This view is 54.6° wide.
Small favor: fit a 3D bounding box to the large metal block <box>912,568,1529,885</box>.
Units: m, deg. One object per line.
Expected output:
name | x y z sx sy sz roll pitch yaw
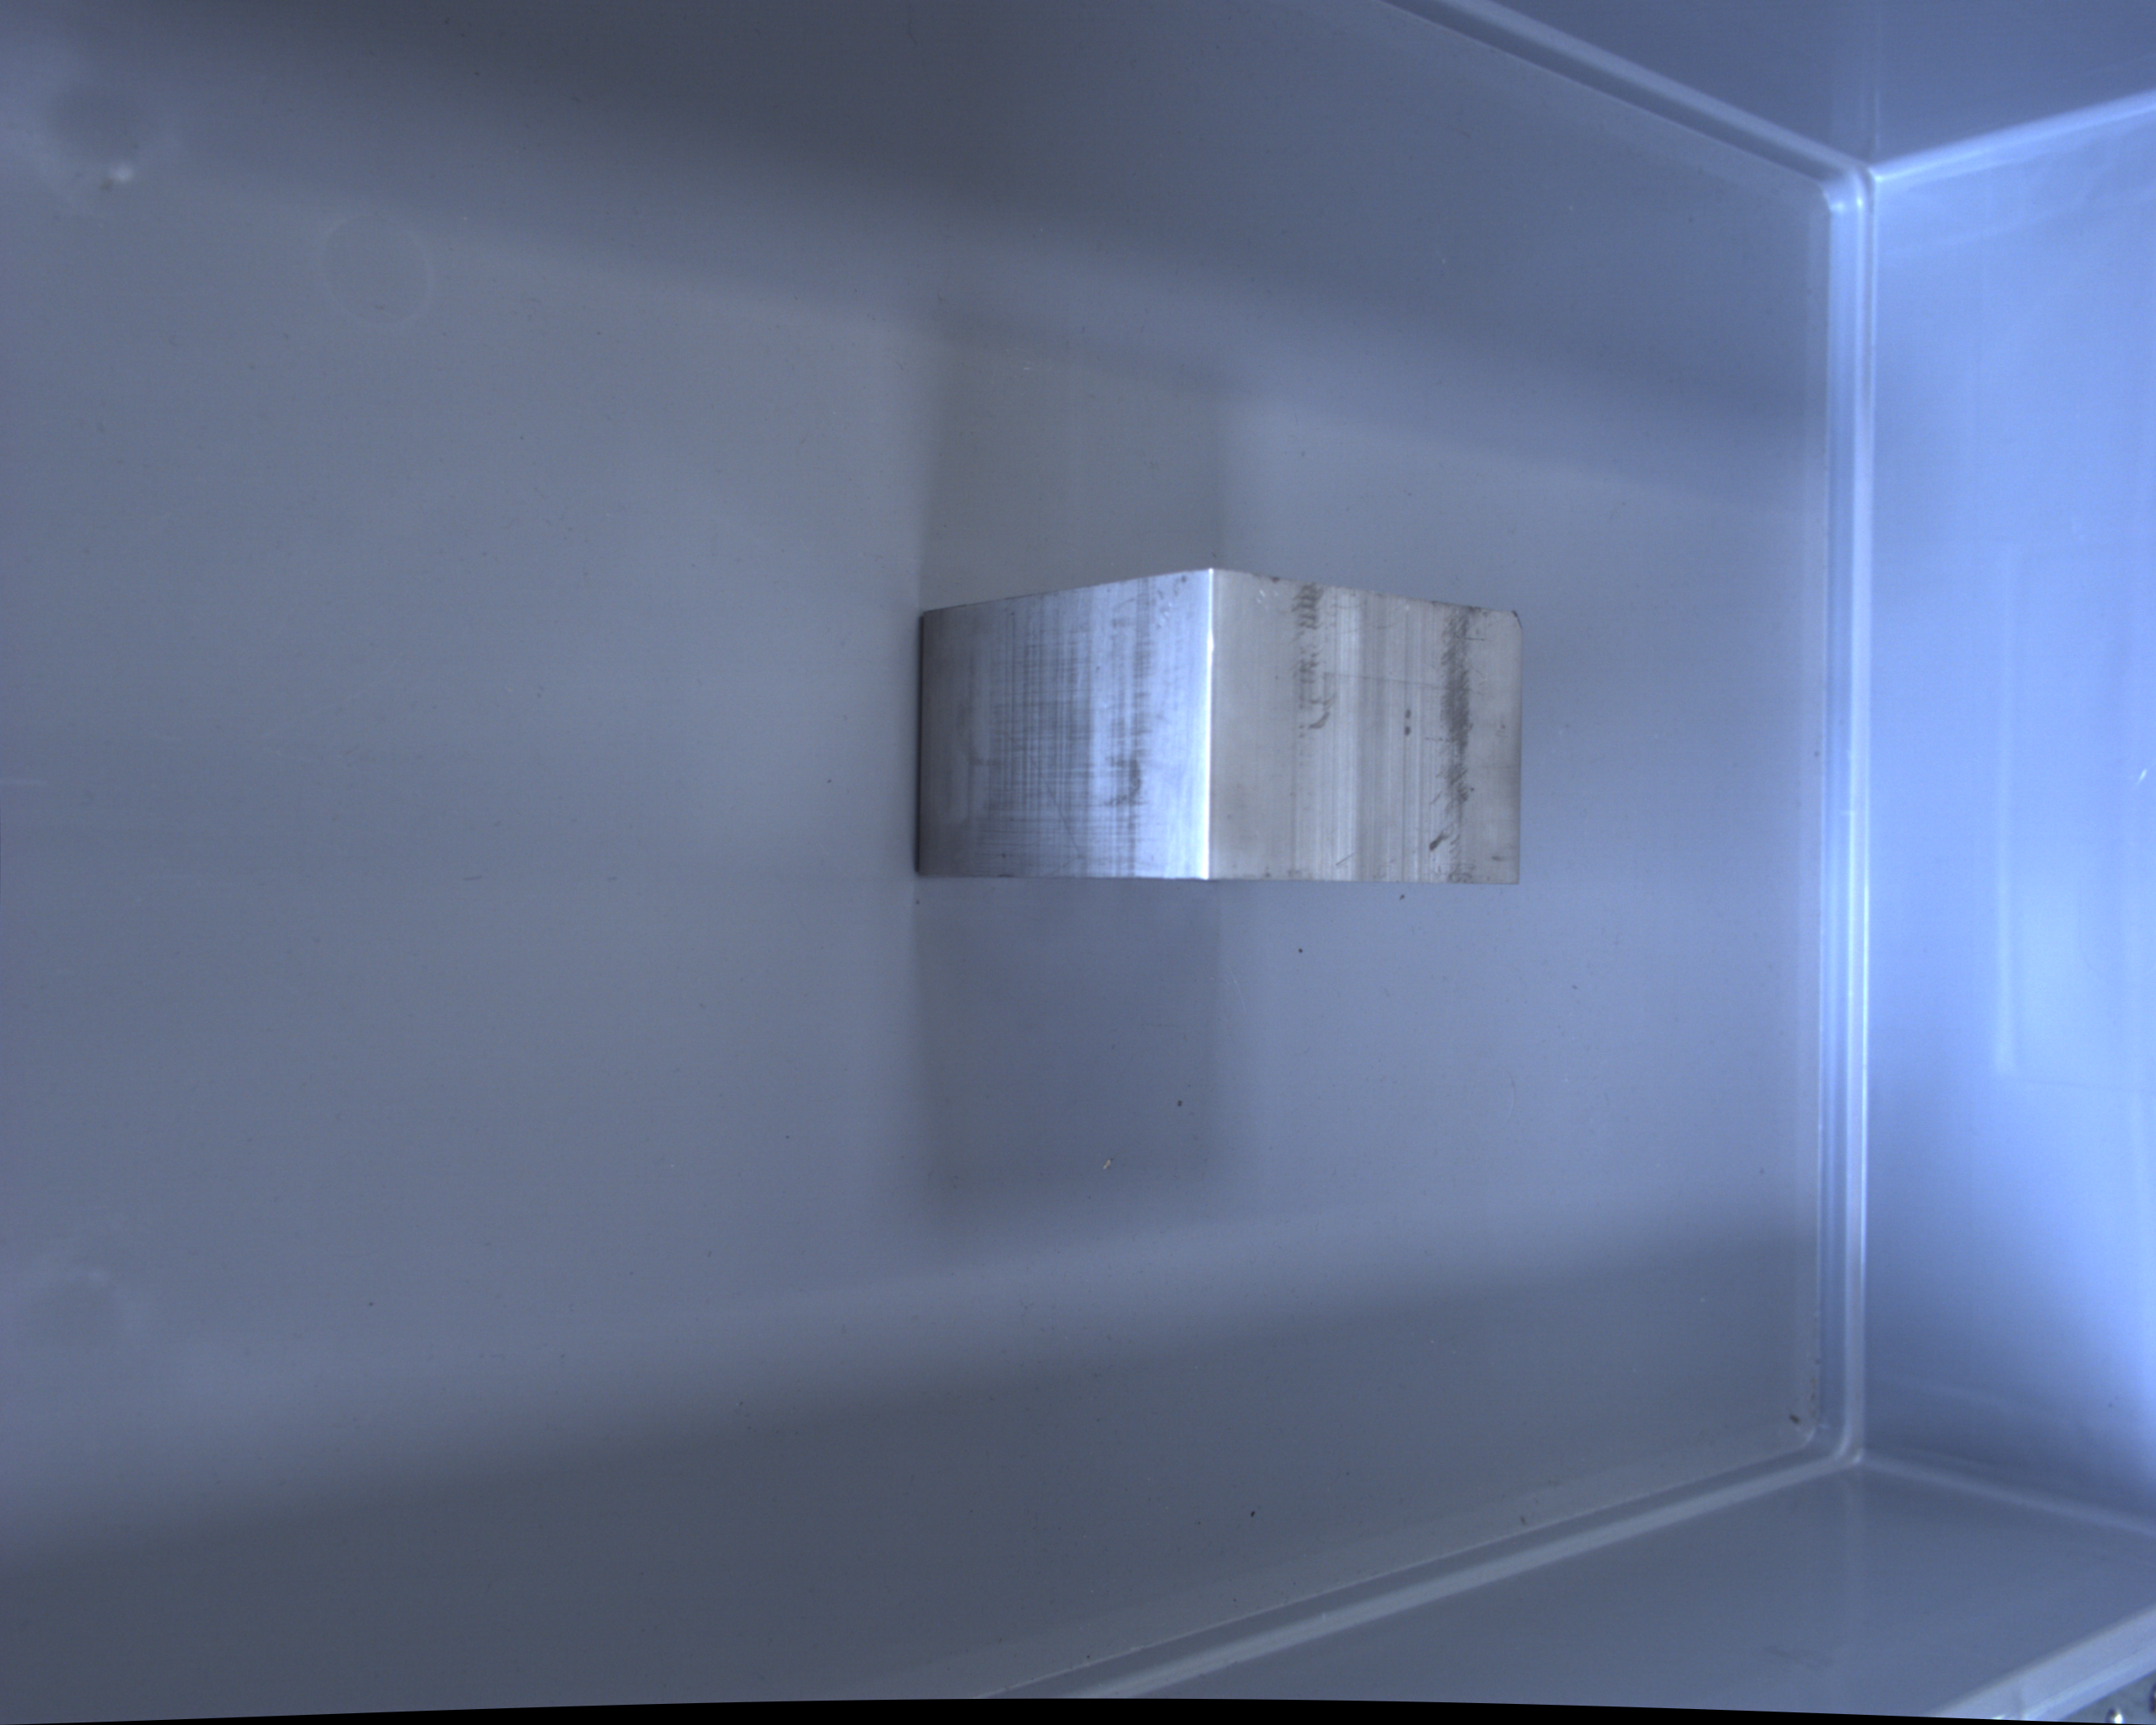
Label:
large metal block | 0.026 -0.022 0.388 0.081 0.080 0.050 1 90 -40
